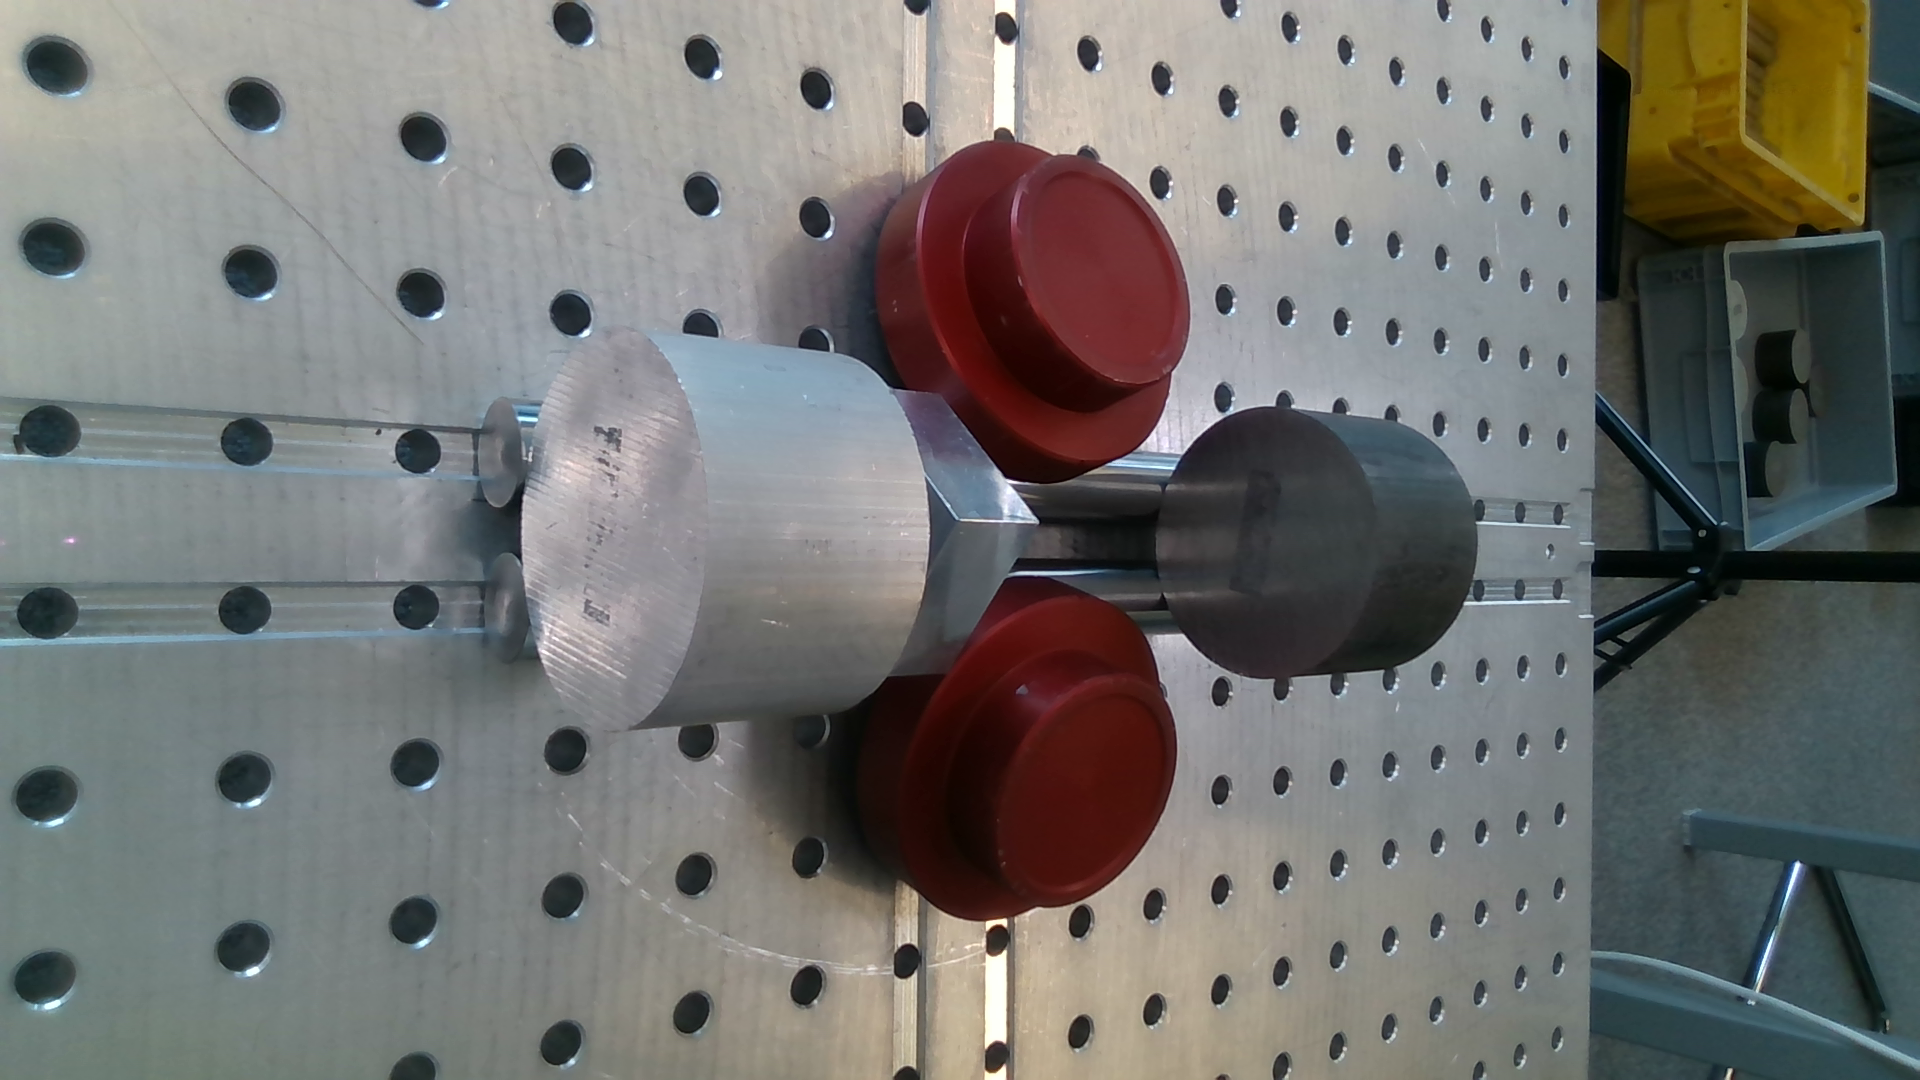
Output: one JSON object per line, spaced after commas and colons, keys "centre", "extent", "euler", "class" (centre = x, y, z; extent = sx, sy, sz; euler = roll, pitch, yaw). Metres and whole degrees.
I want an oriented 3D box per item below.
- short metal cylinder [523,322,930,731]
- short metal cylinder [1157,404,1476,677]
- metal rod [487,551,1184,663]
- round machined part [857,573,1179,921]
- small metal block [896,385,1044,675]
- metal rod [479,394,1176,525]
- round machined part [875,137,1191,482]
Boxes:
{"centre": [-0.051, -0.002, 0.287], "extent": [0.050, 0.080, 0.080], "euler": [1, 89, -40], "class": "short metal cylinder"}
{"centre": [0.107, 0.001, 0.420], "extent": [0.050, 0.080, 0.080], "euler": [1, 89, -40], "class": "short metal cylinder"}
{"centre": [0.014, 0.017, 0.405], "extent": [0.300, 0.025, 0.025], "euler": [1, 89, -40], "class": "metal rod"}
{"centre": [0.023, 0.062, 0.385], "extent": [0.098, 0.042, 0.098], "euler": [-15, 114, -36], "class": "round machined part"}
{"centre": [-0.013, -0.003, 0.336], "extent": [0.025, 0.050, 0.050], "euler": [1, 131, -41], "class": "small metal block"}
{"centre": [0.012, -0.018, 0.404], "extent": [0.300, 0.025, 0.025], "euler": [1, 89, -40], "class": "metal rod"}
{"centre": [0.027, -0.069, 0.390], "extent": [0.098, 0.042, 0.098], "euler": [14, 67, -37], "class": "round machined part"}
